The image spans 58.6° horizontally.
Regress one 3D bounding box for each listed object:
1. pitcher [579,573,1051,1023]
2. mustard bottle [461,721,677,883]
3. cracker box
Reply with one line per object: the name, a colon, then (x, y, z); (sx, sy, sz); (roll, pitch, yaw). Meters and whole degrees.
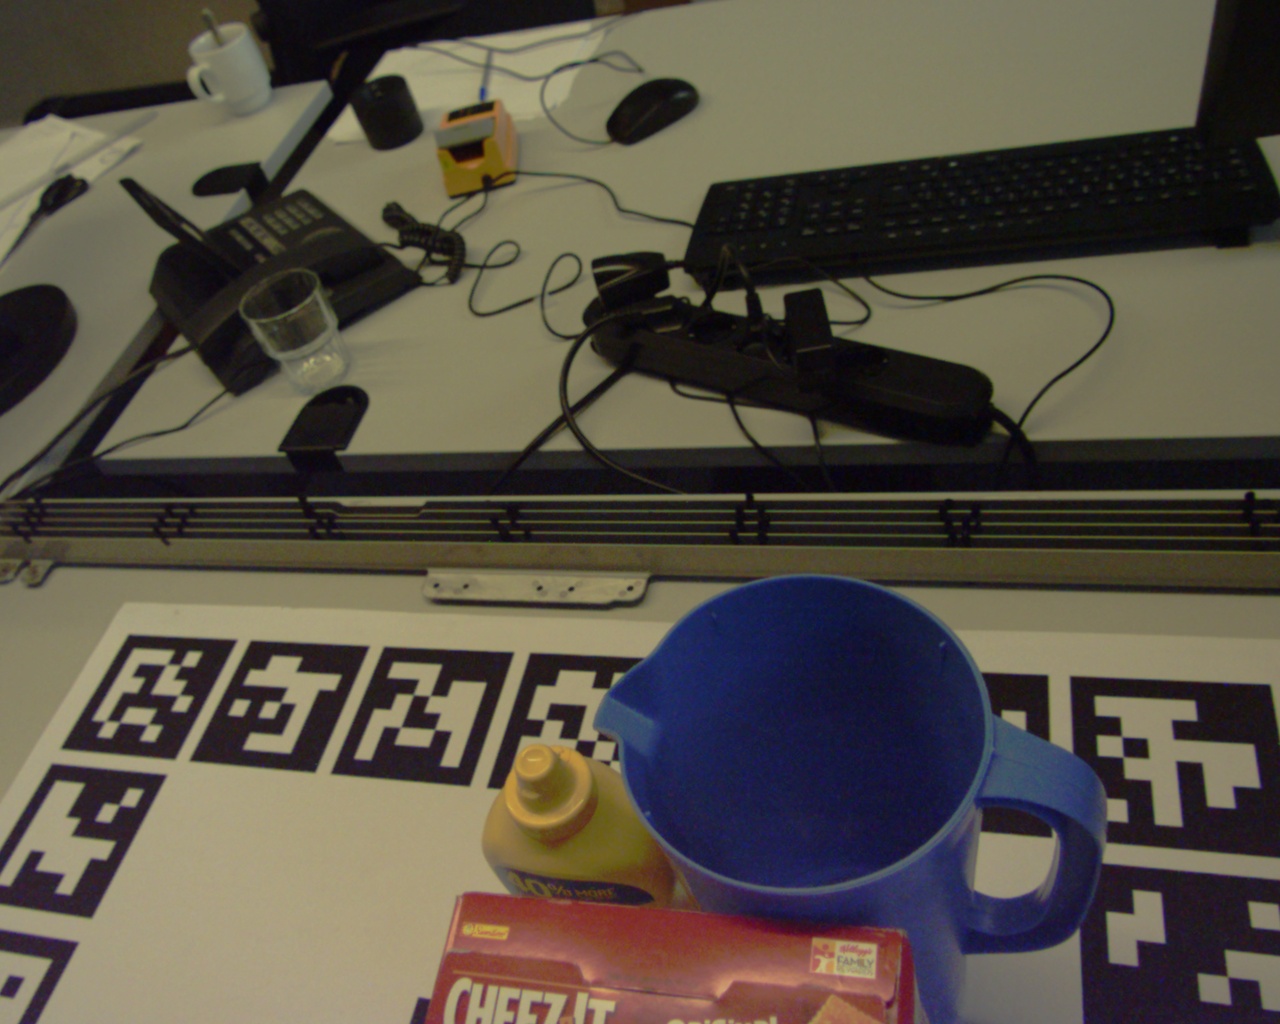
pitcher: (0.087, 0.150, 0.519); (0.191, 0.240, 0.133); (3, 50, 24)
mustard bottle: (-0.037, 0.160, 0.570); (0.097, 0.190, 0.058); (11, 54, 27)
cracker box: (0.024, 0.232, 0.474); (0.166, 0.212, 0.072); (-4, 46, 19)
